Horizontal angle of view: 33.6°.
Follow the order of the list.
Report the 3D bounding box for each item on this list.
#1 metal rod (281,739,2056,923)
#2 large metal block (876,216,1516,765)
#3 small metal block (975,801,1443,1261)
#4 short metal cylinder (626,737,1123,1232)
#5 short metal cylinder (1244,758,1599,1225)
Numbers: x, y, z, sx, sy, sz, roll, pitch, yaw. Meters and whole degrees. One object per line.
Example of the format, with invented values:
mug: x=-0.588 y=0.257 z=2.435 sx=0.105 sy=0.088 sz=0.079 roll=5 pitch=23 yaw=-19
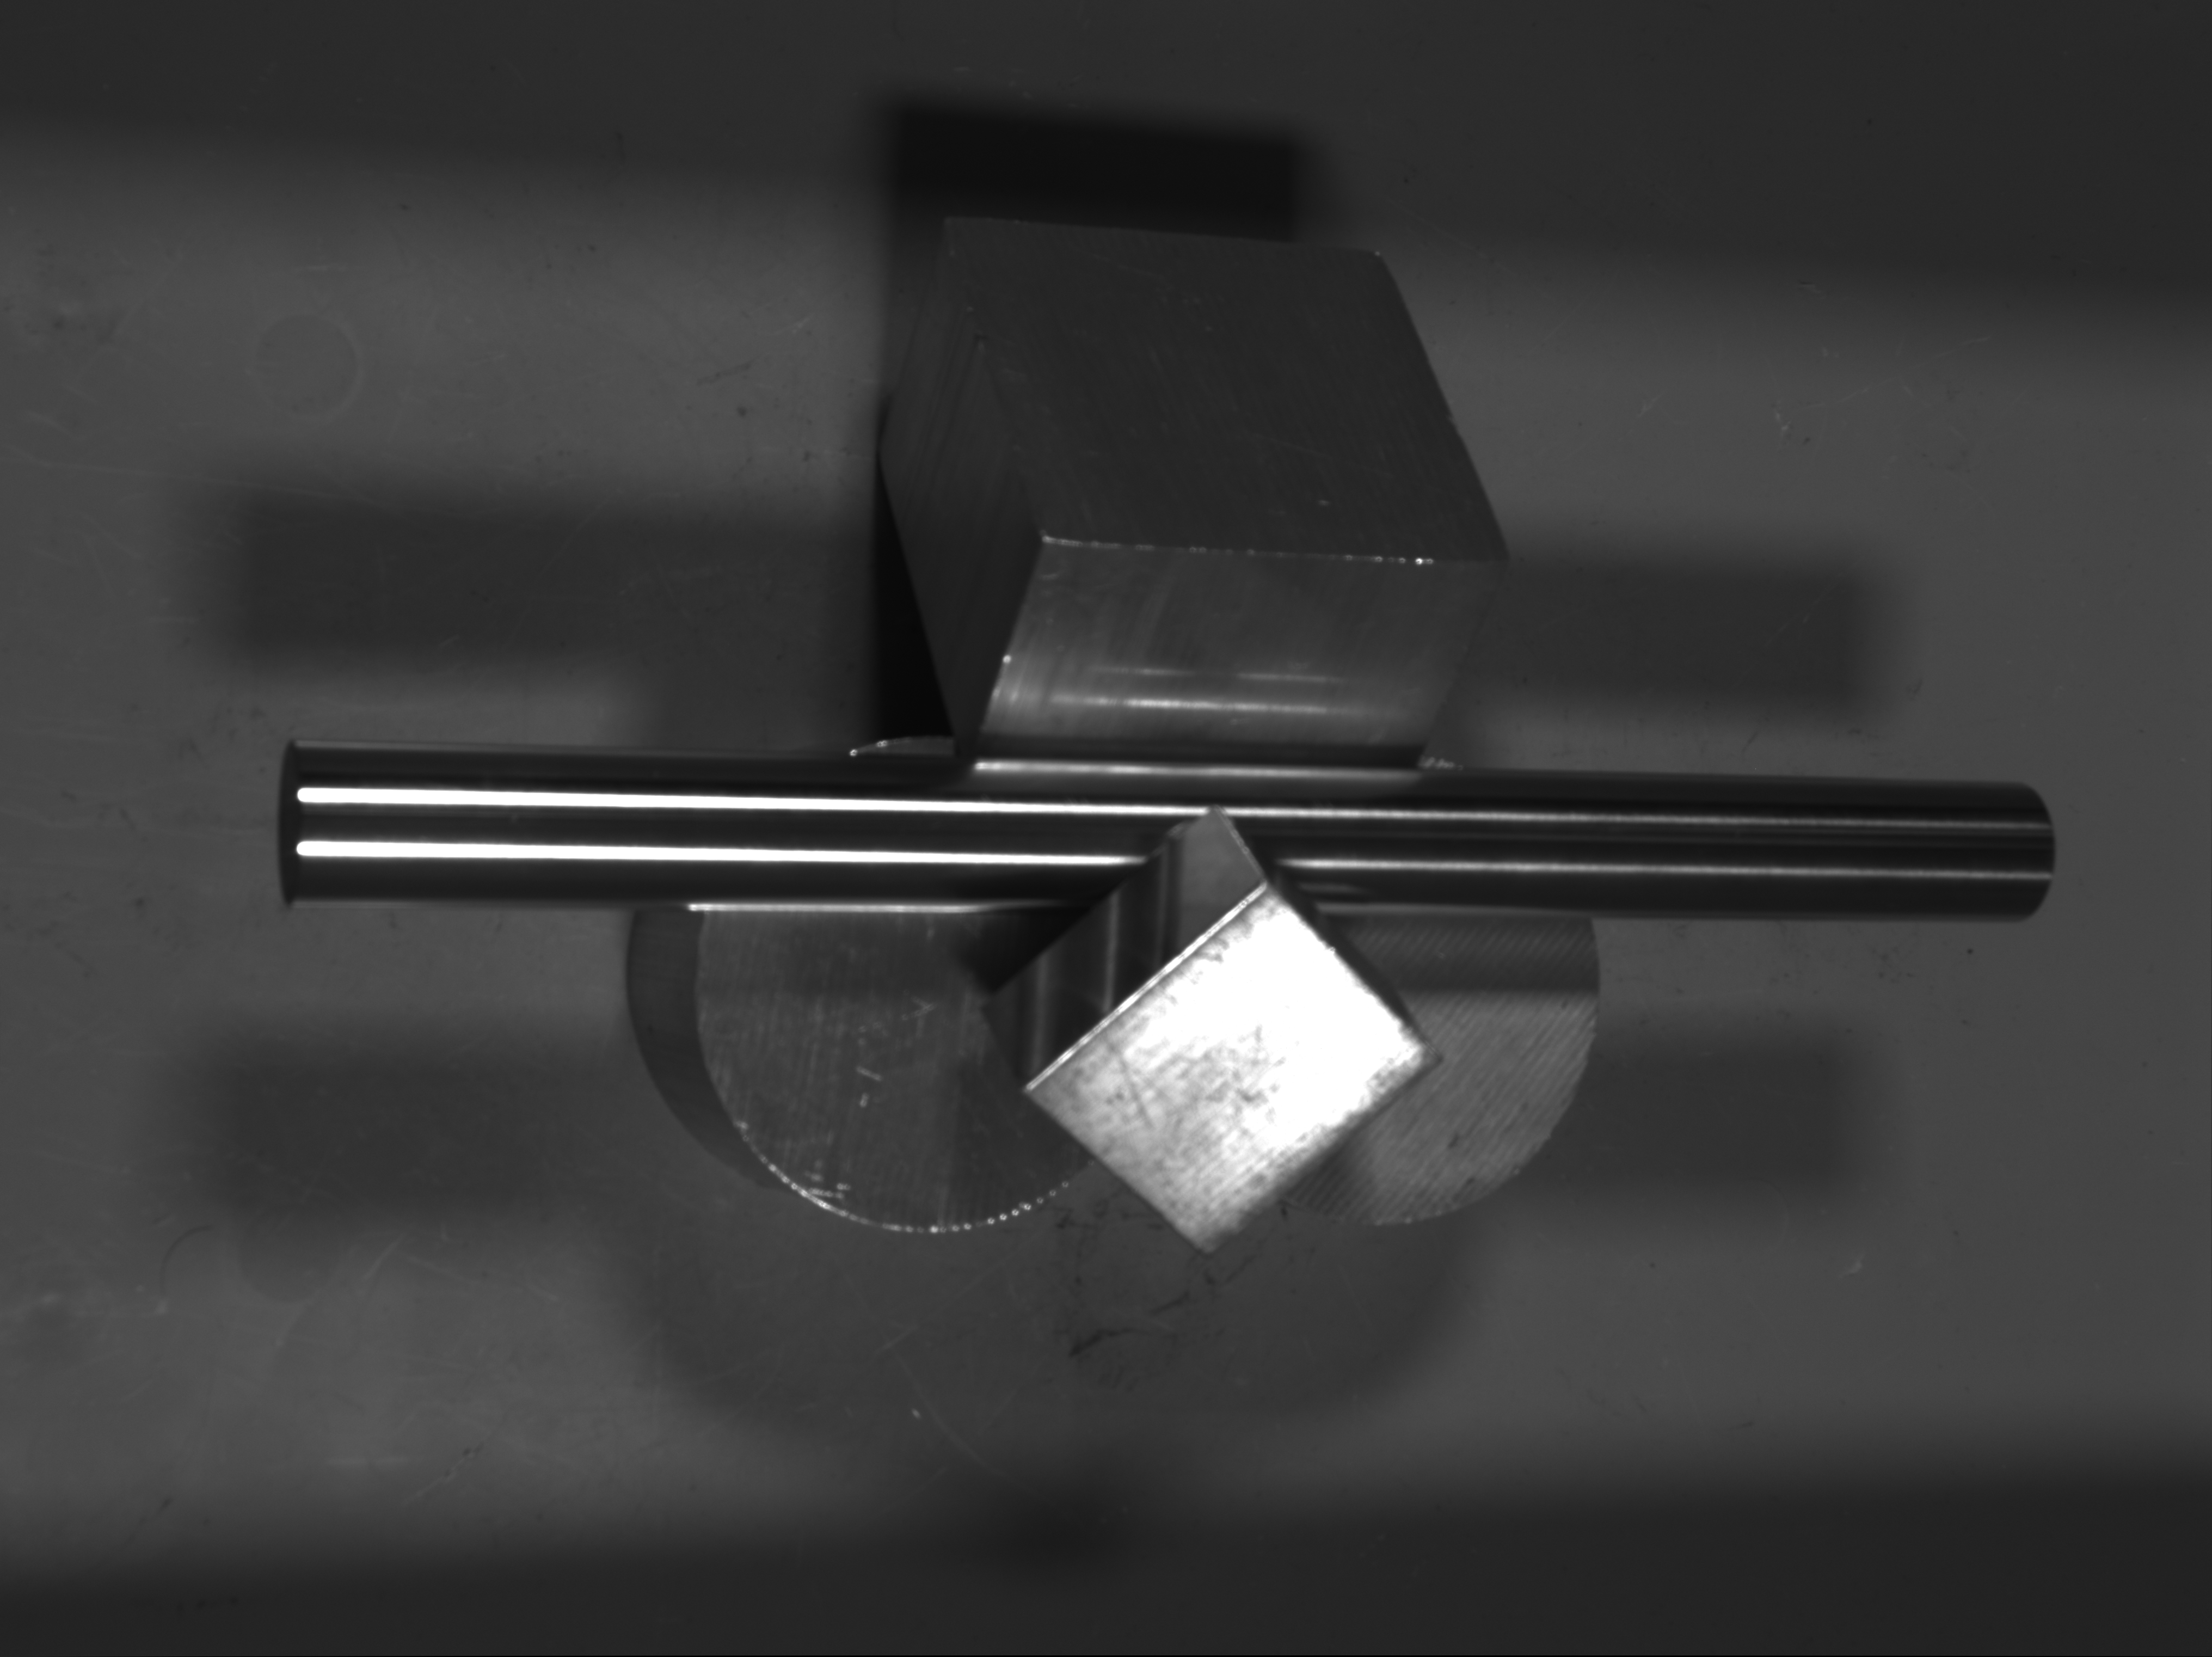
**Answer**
metal rod: x=0.020 y=0.002 z=0.596 sx=0.301 sy=0.025 sz=0.025 roll=1 pitch=90 yaw=-20
large metal block: x=0.012 y=-0.055 z=0.612 sx=0.080 sy=0.050 sz=0.080 roll=1 pitch=46 yaw=-20
small metal block: x=0.016 y=0.033 z=0.584 sx=0.050 sy=0.025 sz=0.050 roll=-41 pitch=123 yaw=6
short metal cylinder: x=-0.036 y=0.025 z=0.616 sx=0.080 sy=0.050 sz=0.080 roll=0 pitch=90 yaw=-20
short metal cylinder: x=0.039 y=0.027 z=0.644 sx=0.080 sy=0.050 sz=0.080 roll=0 pitch=90 yaw=-20
